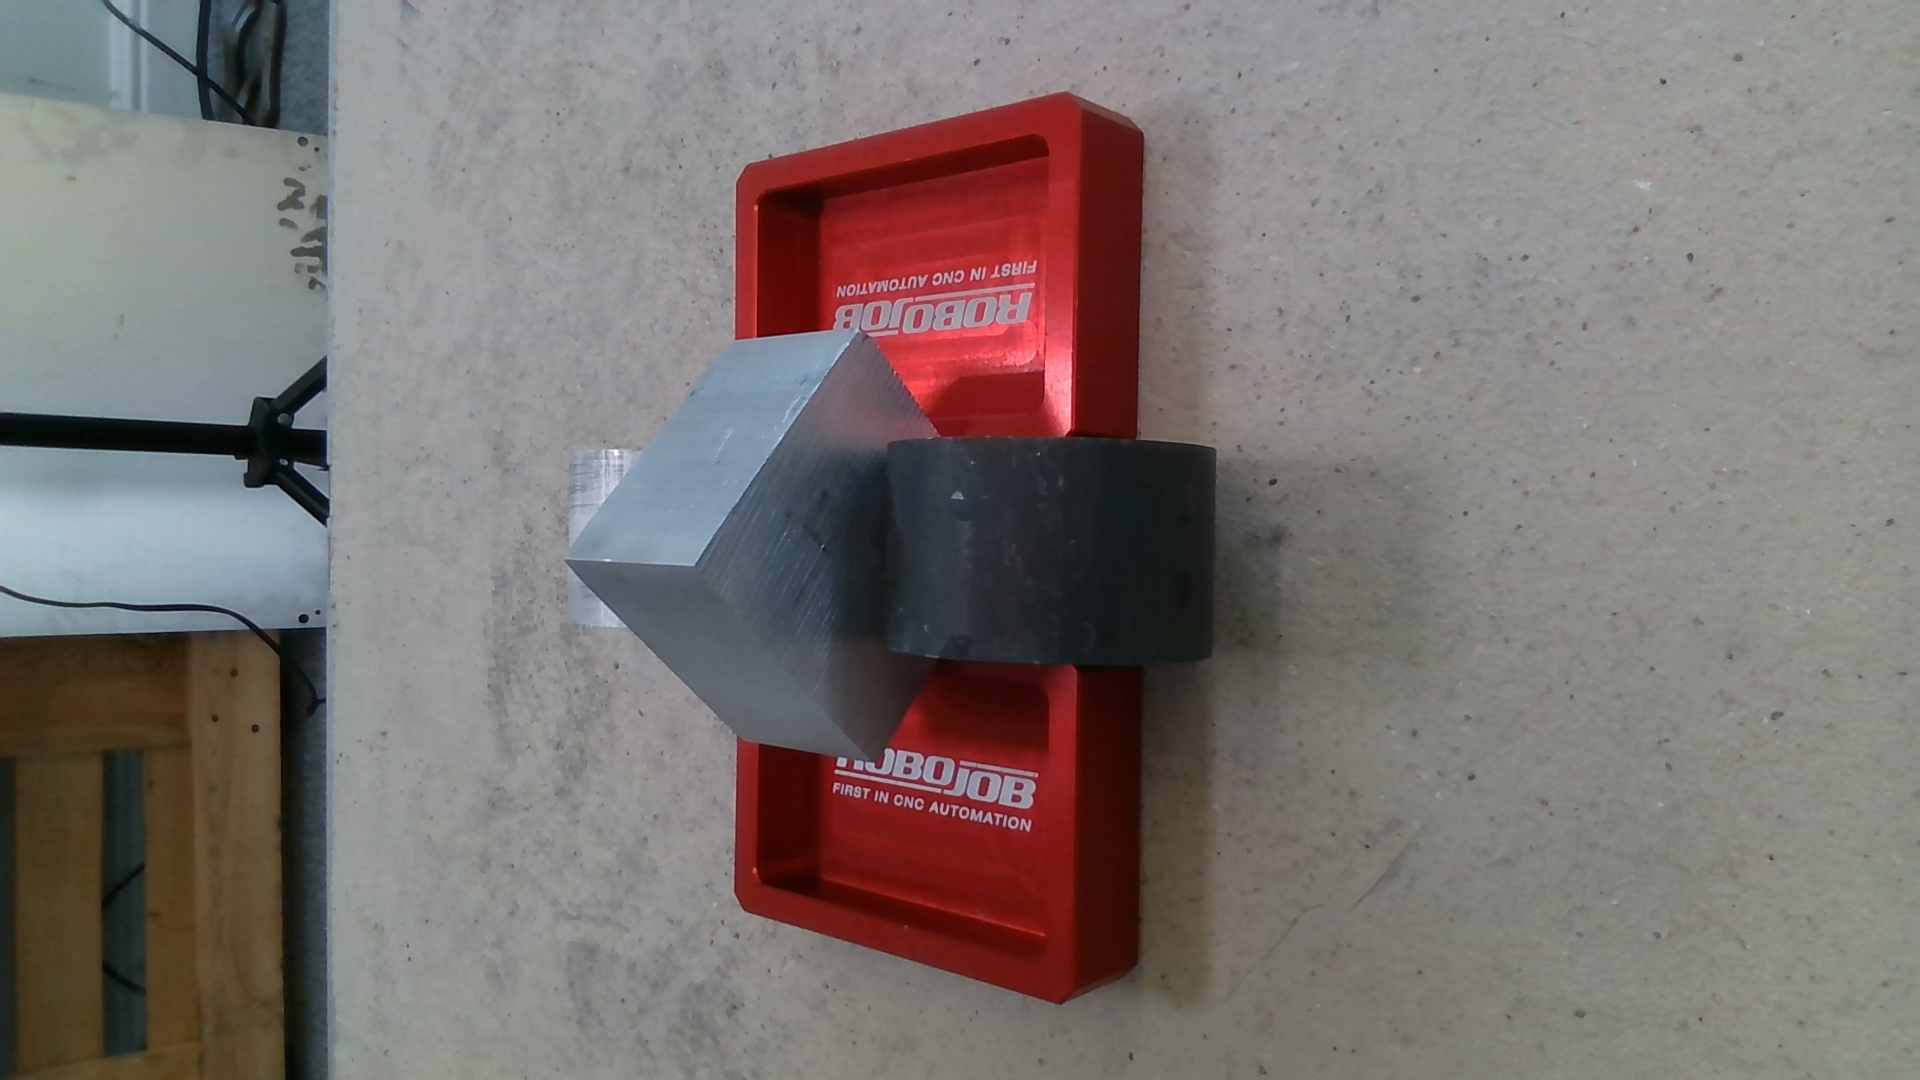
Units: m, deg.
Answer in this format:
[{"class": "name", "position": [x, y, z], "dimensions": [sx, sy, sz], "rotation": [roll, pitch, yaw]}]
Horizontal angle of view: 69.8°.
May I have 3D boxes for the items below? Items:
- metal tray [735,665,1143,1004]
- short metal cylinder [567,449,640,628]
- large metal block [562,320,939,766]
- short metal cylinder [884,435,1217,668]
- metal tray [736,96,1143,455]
[{"class": "metal tray", "position": [-0.011, 0.071, 0.398], "dimensions": [0.130, 0.030, 0.090], "rotation": [2, 92, 40]}, {"class": "short metal cylinder", "position": [-0.078, -0.001, 0.421], "dimensions": [0.080, 0.080, 0.050], "rotation": [3, 92, 40]}, {"class": "large metal block", "position": [-0.042, 0.001, 0.364], "dimensions": [0.050, 0.080, 0.080], "rotation": [2, 51, 41]}, {"class": "short metal cylinder", "position": [0.022, 0.002, 0.337], "dimensions": [0.080, 0.080, 0.050], "rotation": [3, 92, 40]}, {"class": "metal tray", "position": [-0.011, -0.068, 0.397], "dimensions": [0.130, 0.030, 0.090], "rotation": [2, 92, 40]}]
